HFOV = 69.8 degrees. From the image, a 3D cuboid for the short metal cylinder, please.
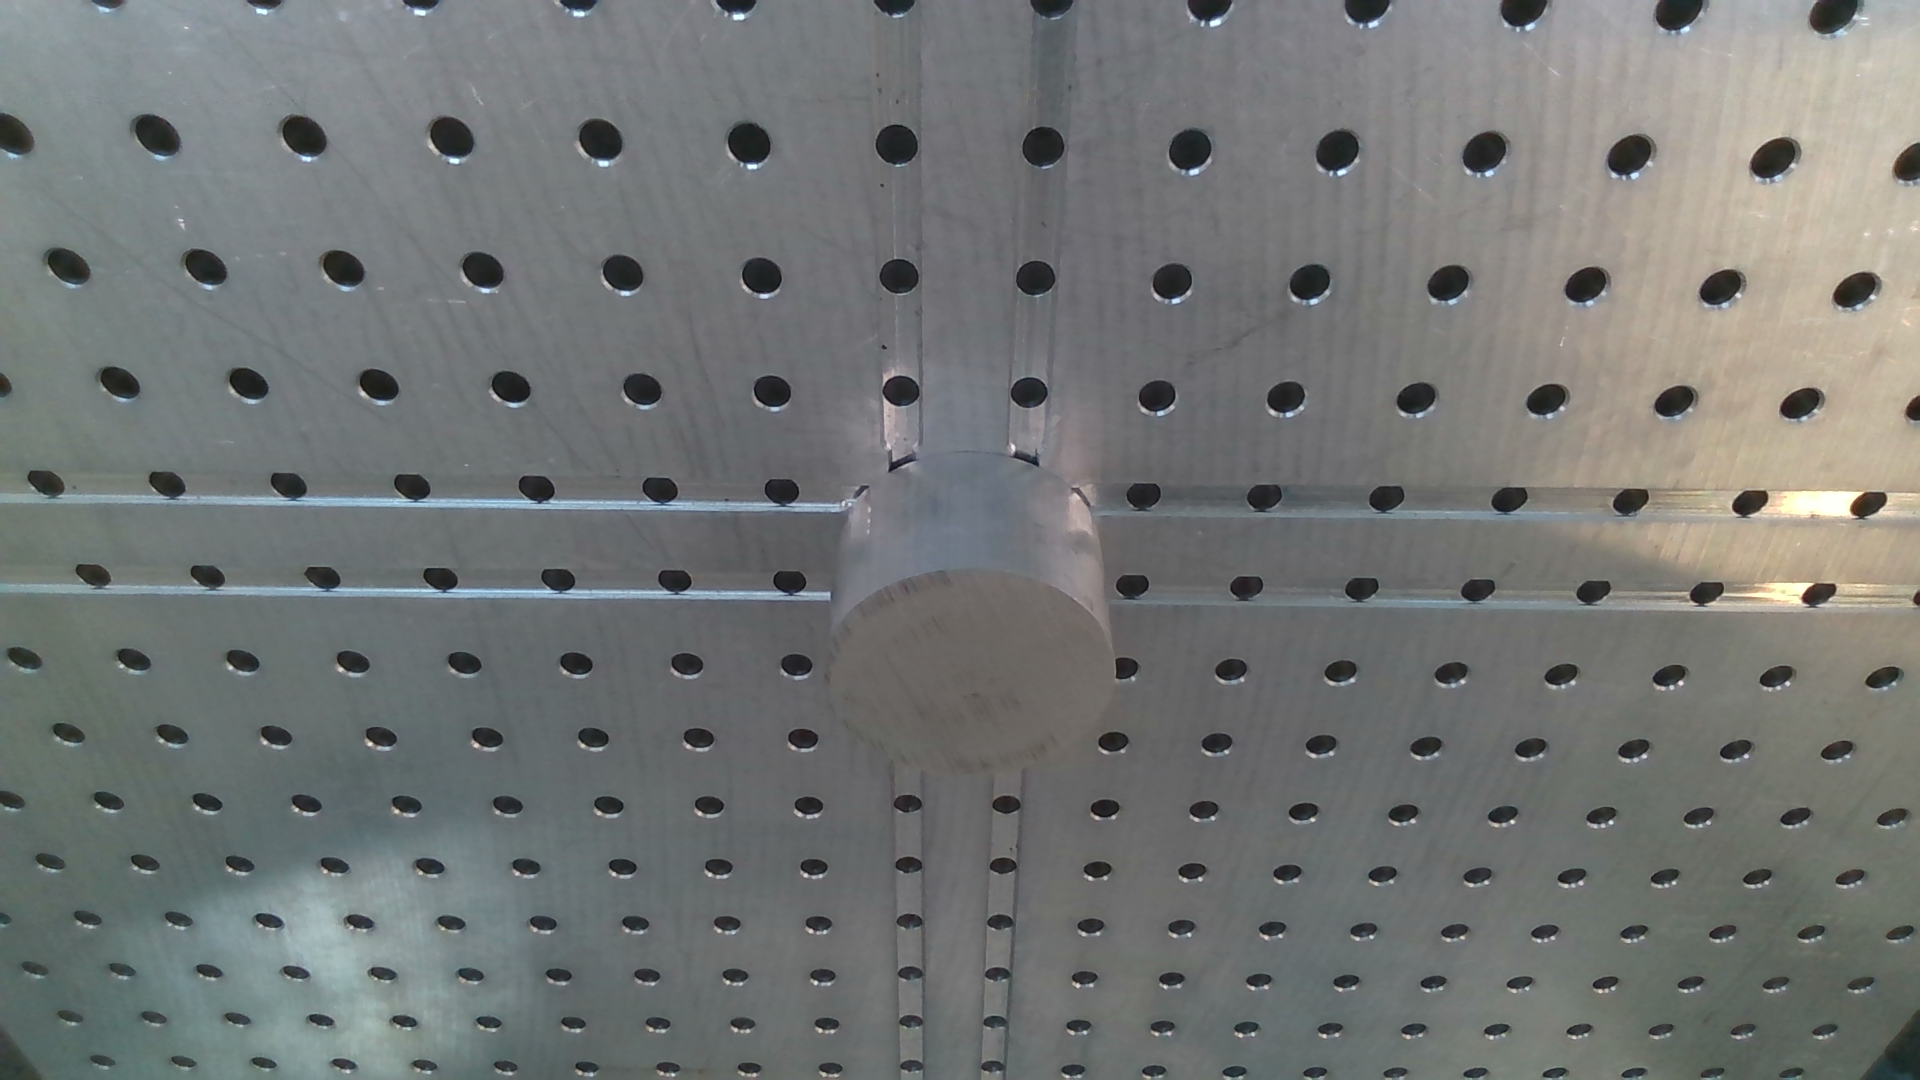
[{"bbox_3d":[0.002,0.021,0.392,0.080,0.050,0.080,0,130,0],"label":"short metal cylinder"}]
